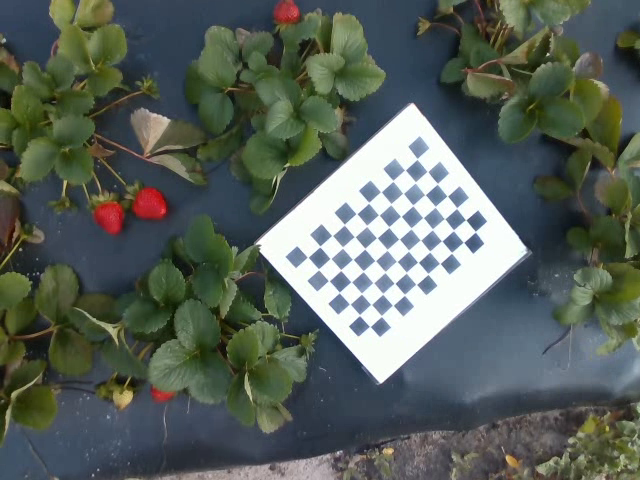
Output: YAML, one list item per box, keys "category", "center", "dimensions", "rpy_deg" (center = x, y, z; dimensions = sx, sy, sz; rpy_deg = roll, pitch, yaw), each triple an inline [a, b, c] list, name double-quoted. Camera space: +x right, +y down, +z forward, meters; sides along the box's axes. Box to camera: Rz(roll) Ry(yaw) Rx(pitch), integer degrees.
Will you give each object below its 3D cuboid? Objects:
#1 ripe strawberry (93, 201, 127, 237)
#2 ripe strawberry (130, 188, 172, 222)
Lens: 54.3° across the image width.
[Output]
- category: "ripe strawberry"
  center: [-0.321, -0.031, 0.948]
  dimensions: [0.049, 0.055, 0.041]
  rpy_deg: [-27, -14, -5]
- category: "ripe strawberry"
  center: [-0.261, -0.051, 0.948]
  dimensions: [0.064, 0.057, 0.051]
  rpy_deg: [28, 0, 22]
